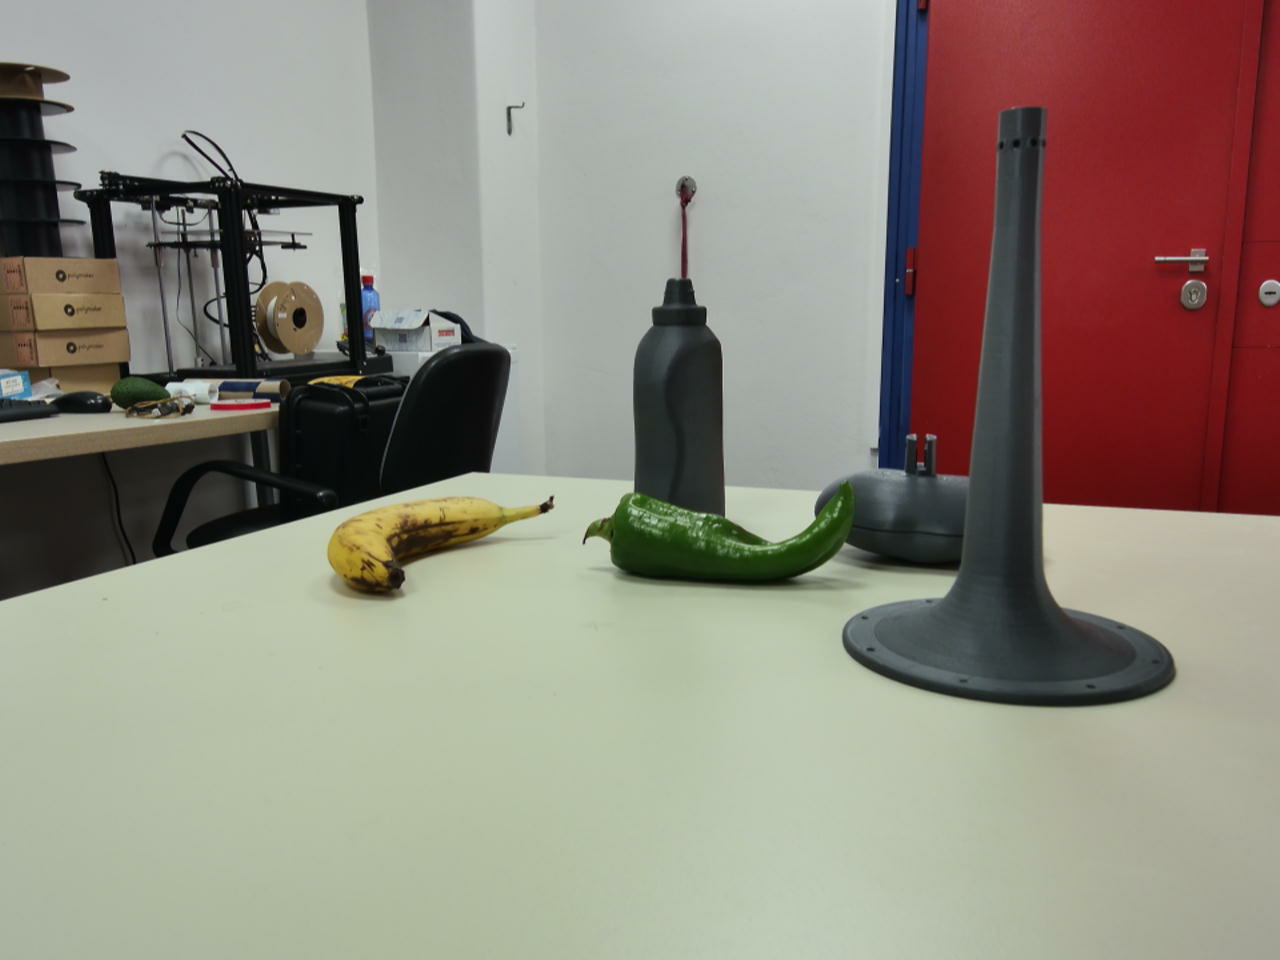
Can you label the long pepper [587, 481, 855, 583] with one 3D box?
[{"bbox_3d":[0.046,0.030,0.638,0.175,0.065,0.058,3,8,22],"label":"long pepper"}]
